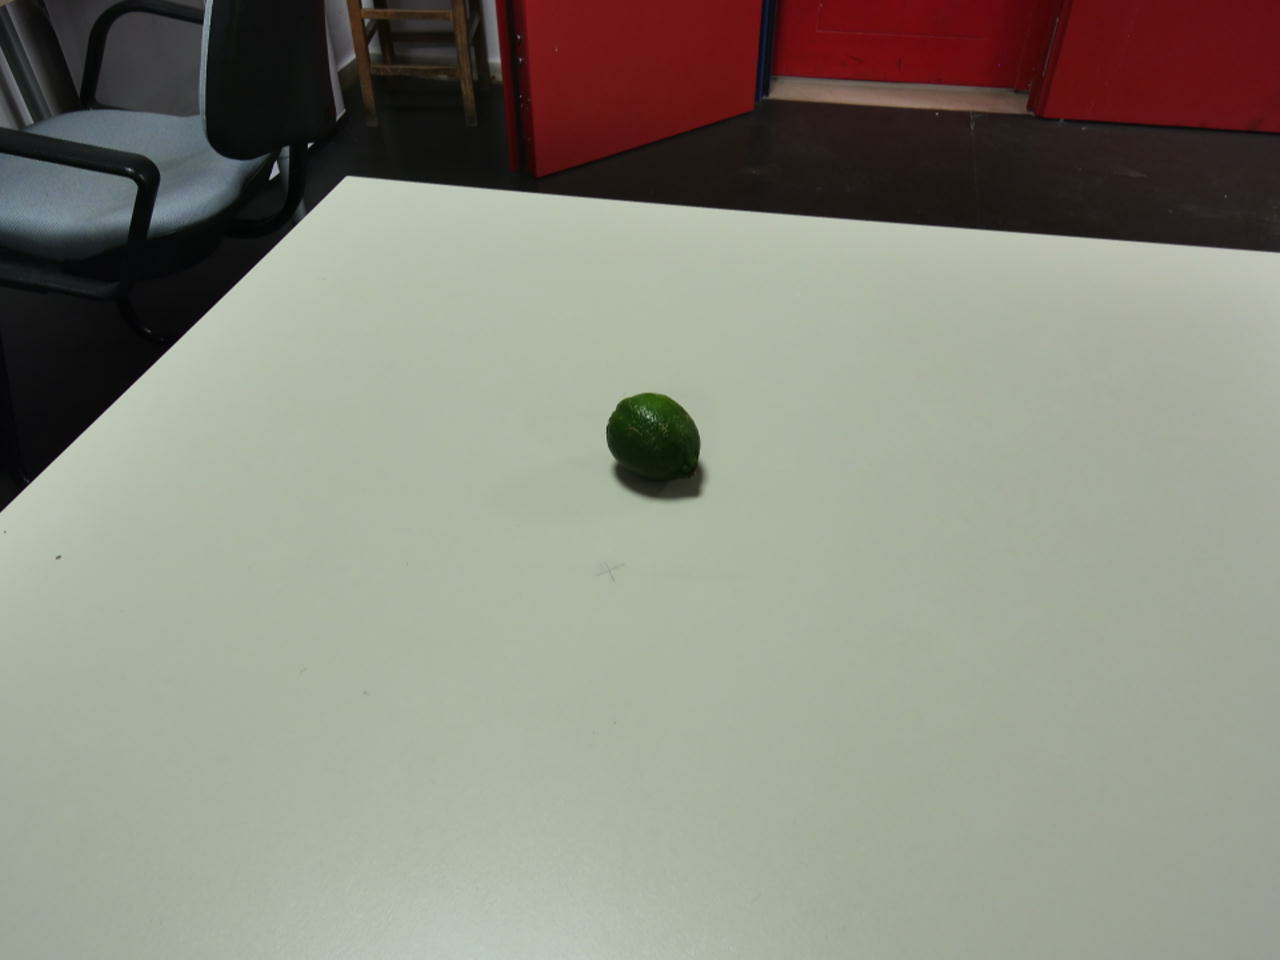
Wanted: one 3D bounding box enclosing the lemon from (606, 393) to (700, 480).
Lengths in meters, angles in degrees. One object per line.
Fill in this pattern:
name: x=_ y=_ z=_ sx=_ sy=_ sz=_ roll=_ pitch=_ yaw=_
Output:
lemon: x=0.009 y=-0.027 z=0.607 sx=0.057 sy=0.051 sz=0.054 roll=5 pitch=39 yaw=7
